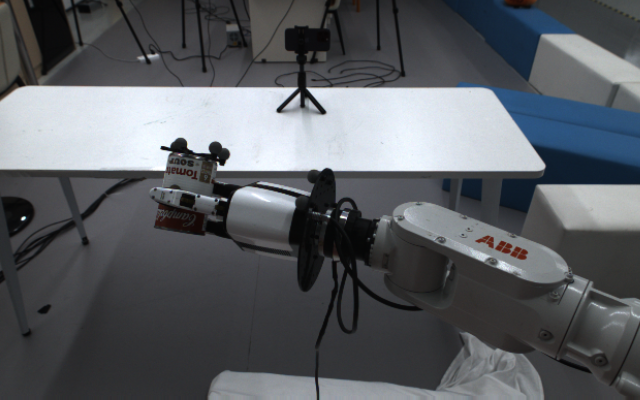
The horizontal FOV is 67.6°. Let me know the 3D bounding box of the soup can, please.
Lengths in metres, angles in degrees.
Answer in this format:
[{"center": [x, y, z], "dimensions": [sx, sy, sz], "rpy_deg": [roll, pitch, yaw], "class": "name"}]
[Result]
[{"center": [-0.180, -0.005, 0.656], "dimensions": [0.067, 0.101, 0.067], "rpy_deg": [9, -5, 1], "class": "soup can"}]
